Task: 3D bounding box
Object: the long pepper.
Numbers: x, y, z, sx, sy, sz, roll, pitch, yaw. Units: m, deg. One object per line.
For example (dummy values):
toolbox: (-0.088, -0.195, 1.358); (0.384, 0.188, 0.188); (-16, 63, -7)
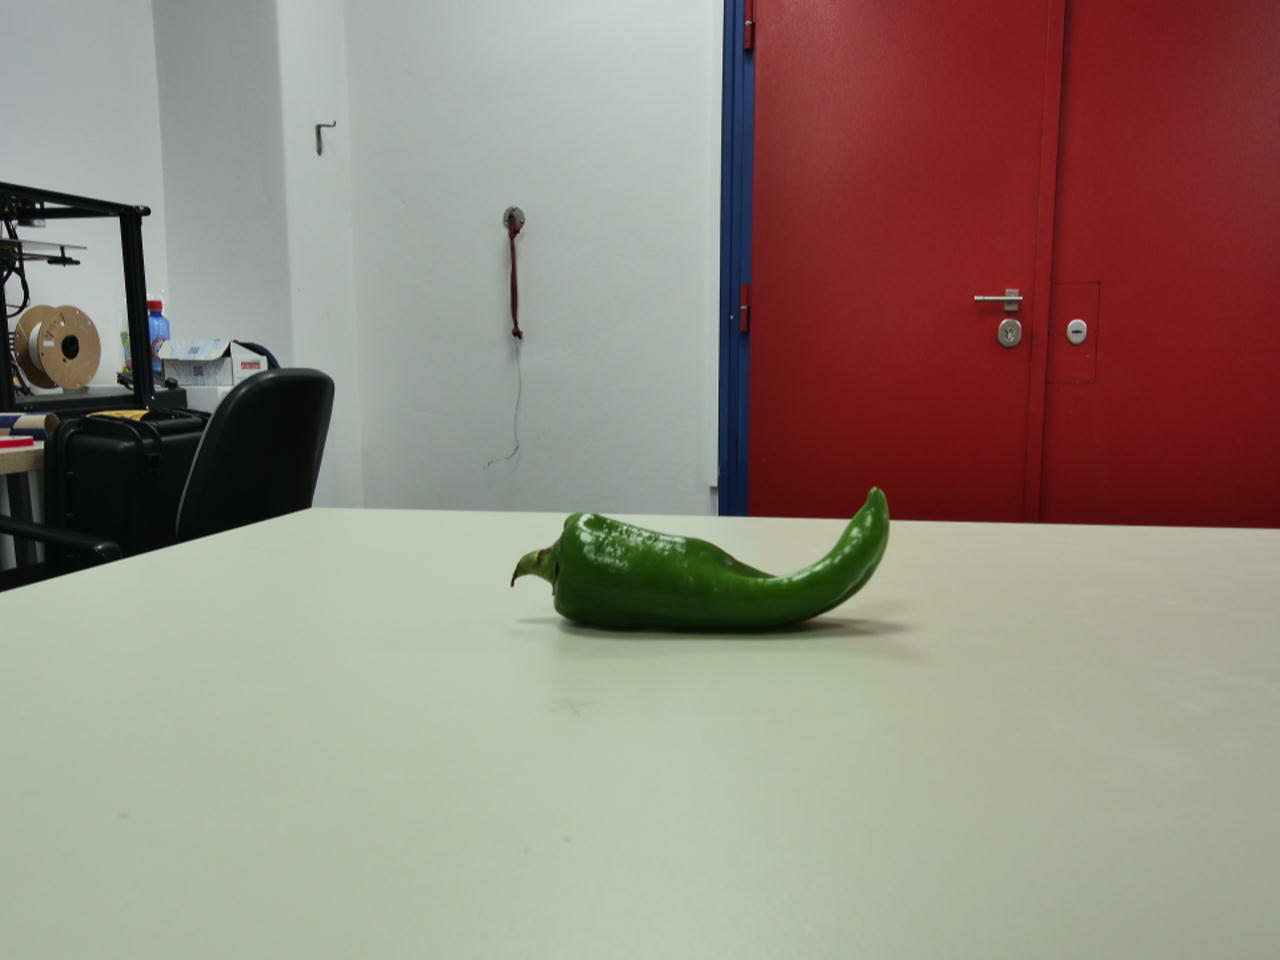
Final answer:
long pepper: (0.025, 0.035, 0.459); (0.175, 0.065, 0.058); (1, 4, 11)
